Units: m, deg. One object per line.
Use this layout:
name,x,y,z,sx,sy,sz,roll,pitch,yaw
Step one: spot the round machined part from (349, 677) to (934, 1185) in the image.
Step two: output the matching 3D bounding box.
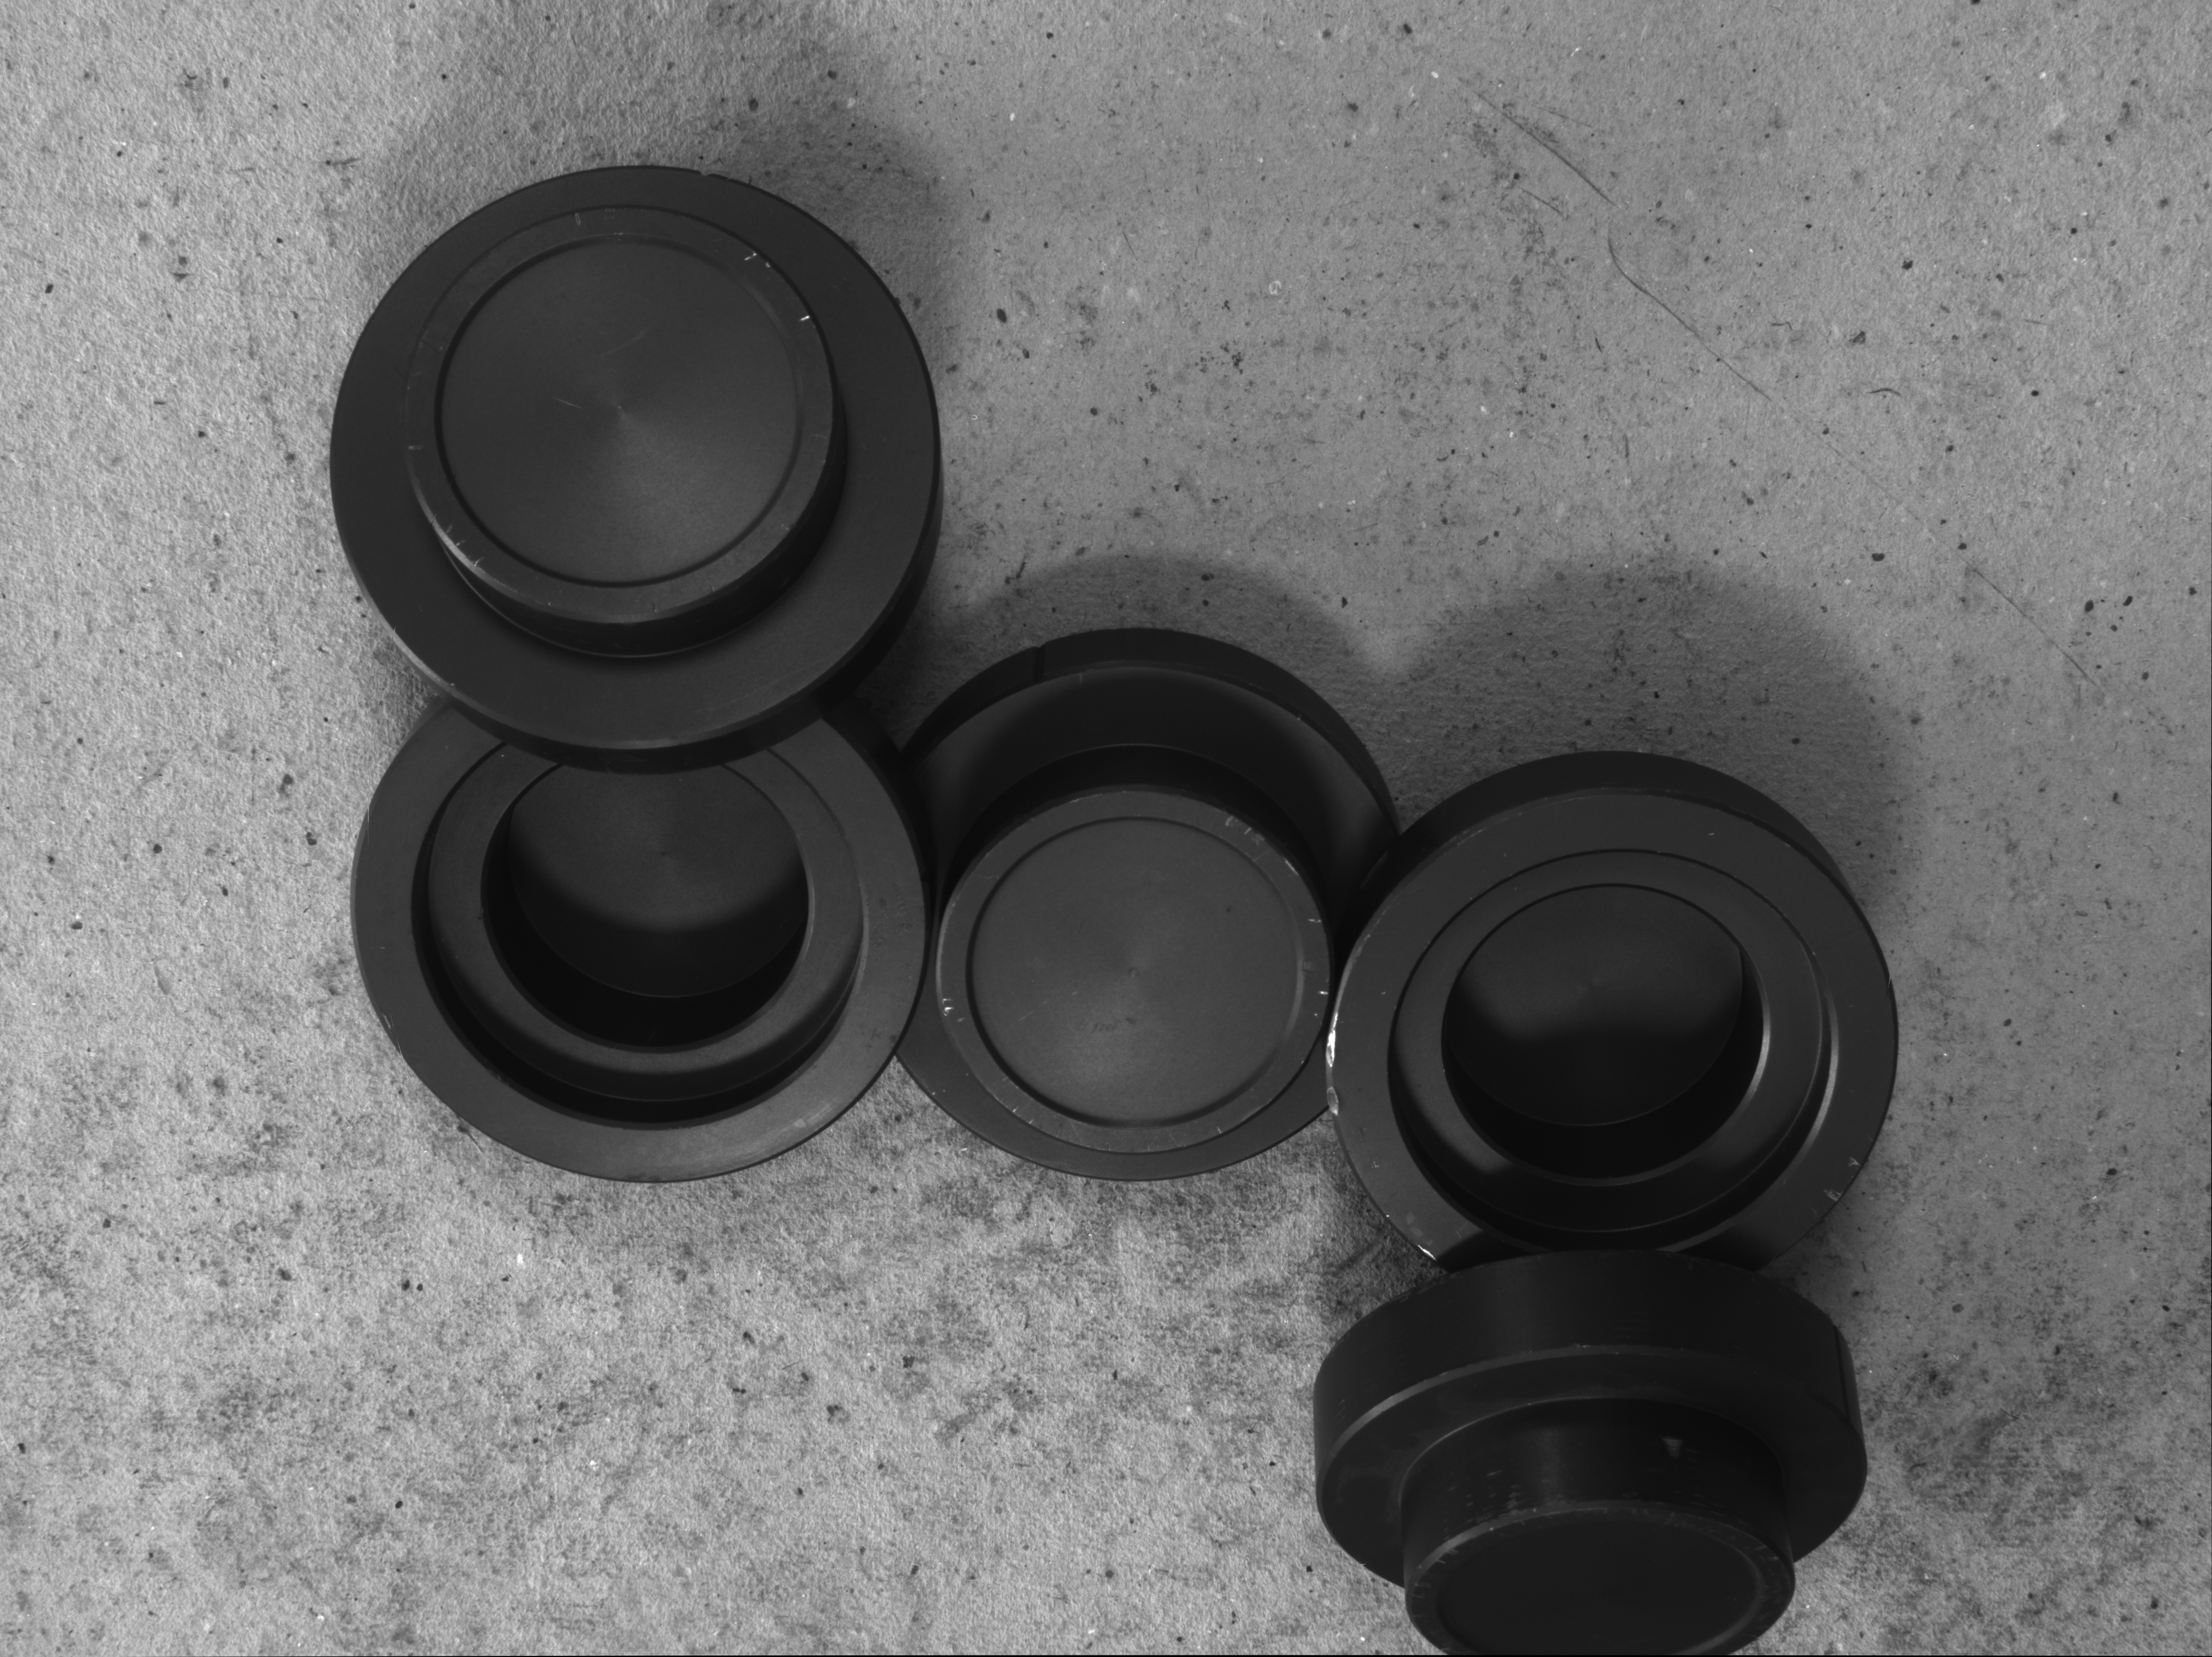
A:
round machined part,-0.078,0.009,0.637,0.098,0.042,0.098,0,110,1

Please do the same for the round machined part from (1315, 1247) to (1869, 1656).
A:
round machined part,0.087,0.119,0.654,0.098,0.042,0.098,0,139,0

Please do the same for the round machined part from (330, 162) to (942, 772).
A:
round machined part,-0.076,-0.061,0.588,0.098,0.042,0.098,0,79,-1

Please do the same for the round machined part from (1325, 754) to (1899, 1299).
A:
round machined part,0.087,0.033,0.646,0.098,0.042,0.098,0,110,1

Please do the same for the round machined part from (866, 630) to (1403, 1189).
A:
round machined part,0.005,0.018,0.640,0.098,0.042,0.098,0,108,1
